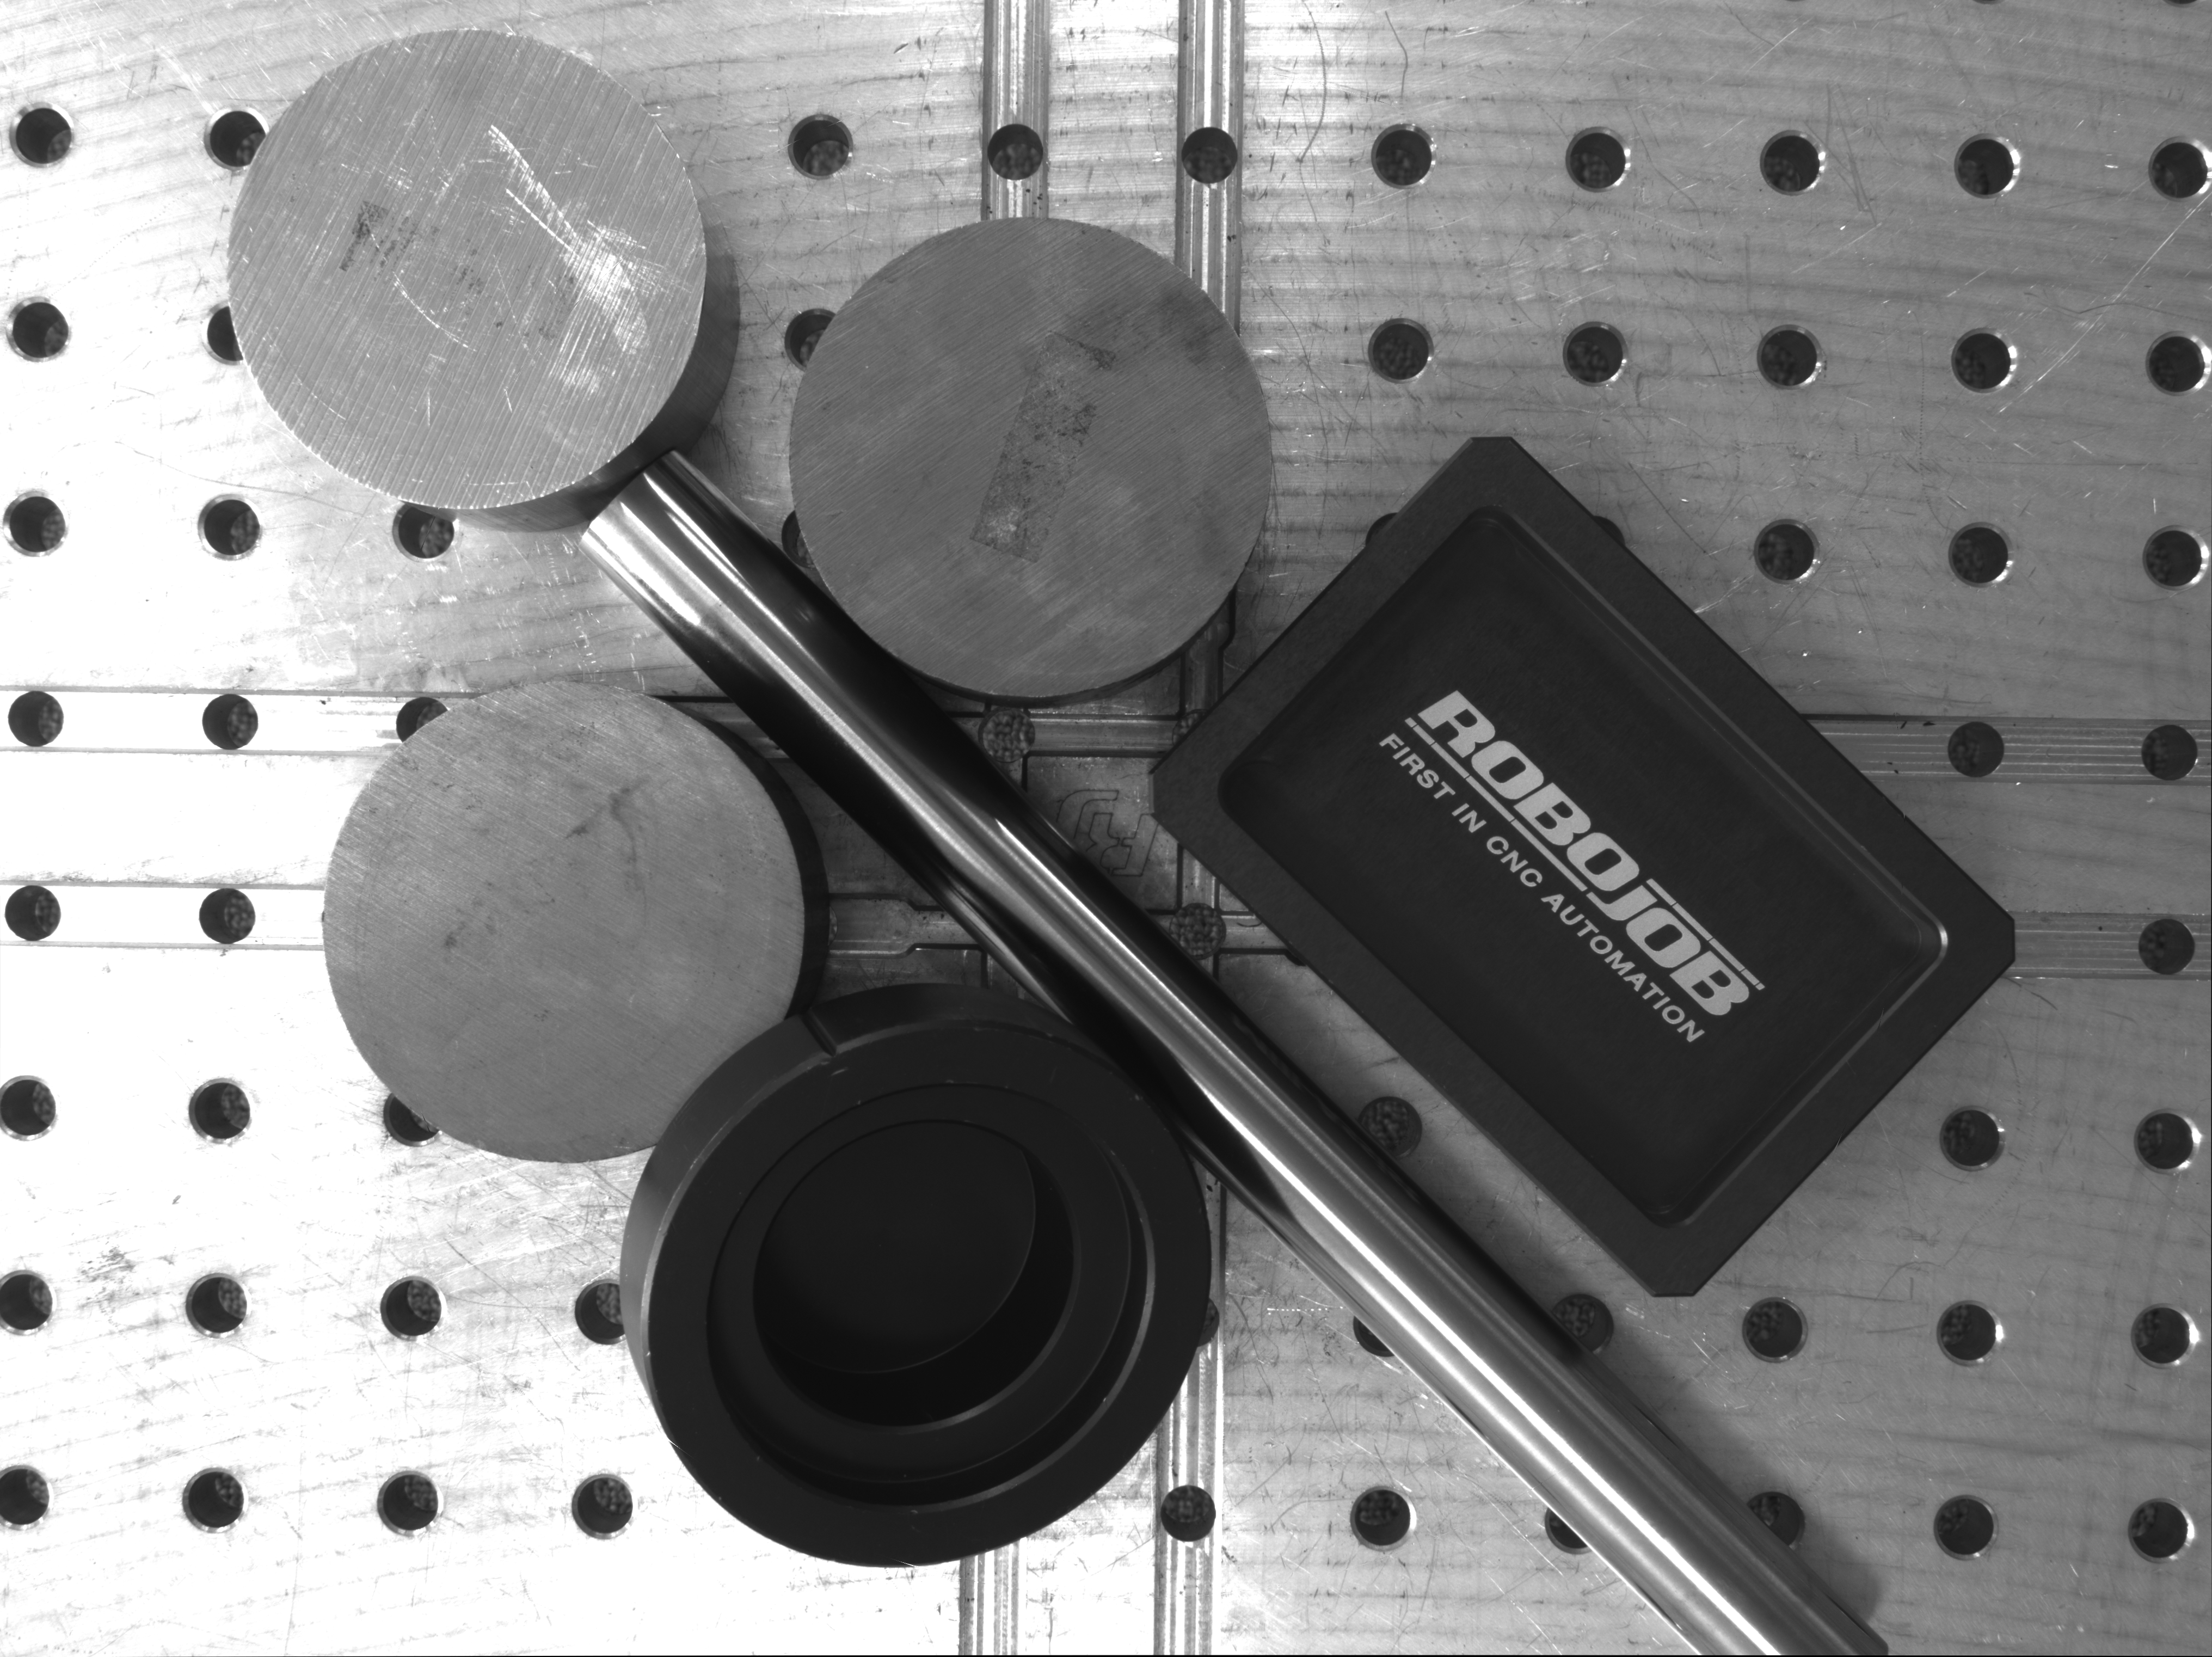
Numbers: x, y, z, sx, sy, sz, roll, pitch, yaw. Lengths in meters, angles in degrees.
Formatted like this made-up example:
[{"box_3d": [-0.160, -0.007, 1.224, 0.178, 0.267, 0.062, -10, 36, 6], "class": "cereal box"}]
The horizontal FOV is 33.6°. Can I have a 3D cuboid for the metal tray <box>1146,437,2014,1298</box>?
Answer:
[{"box_3d": [0.082, 0.007, 0.644, 0.130, 0.030, 0.090, 44, 91, 0], "class": "metal tray"}]

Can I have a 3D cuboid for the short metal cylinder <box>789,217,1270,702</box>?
[{"box_3d": [-0.013, -0.062, 0.634, 0.080, 0.050, 0.080, 0, 90, 0], "class": "short metal cylinder"}]

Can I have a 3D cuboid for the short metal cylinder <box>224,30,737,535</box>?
[{"box_3d": [-0.107, -0.093, 0.635, 0.080, 0.050, 0.080, 0, 90, 0], "class": "short metal cylinder"}]

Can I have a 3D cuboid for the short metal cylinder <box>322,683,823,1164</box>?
[{"box_3d": [-0.090, 0.016, 0.635, 0.080, 0.050, 0.080, 0, 90, 0], "class": "short metal cylinder"}]

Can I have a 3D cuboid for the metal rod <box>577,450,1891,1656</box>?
[{"box_3d": [0.022, 0.047, 0.648, 0.300, 0.025, 0.025, 45, 90, 0], "class": "metal rod"}]

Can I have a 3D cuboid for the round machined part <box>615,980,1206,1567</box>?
[{"box_3d": [-0.036, 0.073, 0.628, 0.098, 0.042, 0.098, -5, 106, -17], "class": "round machined part"}]
